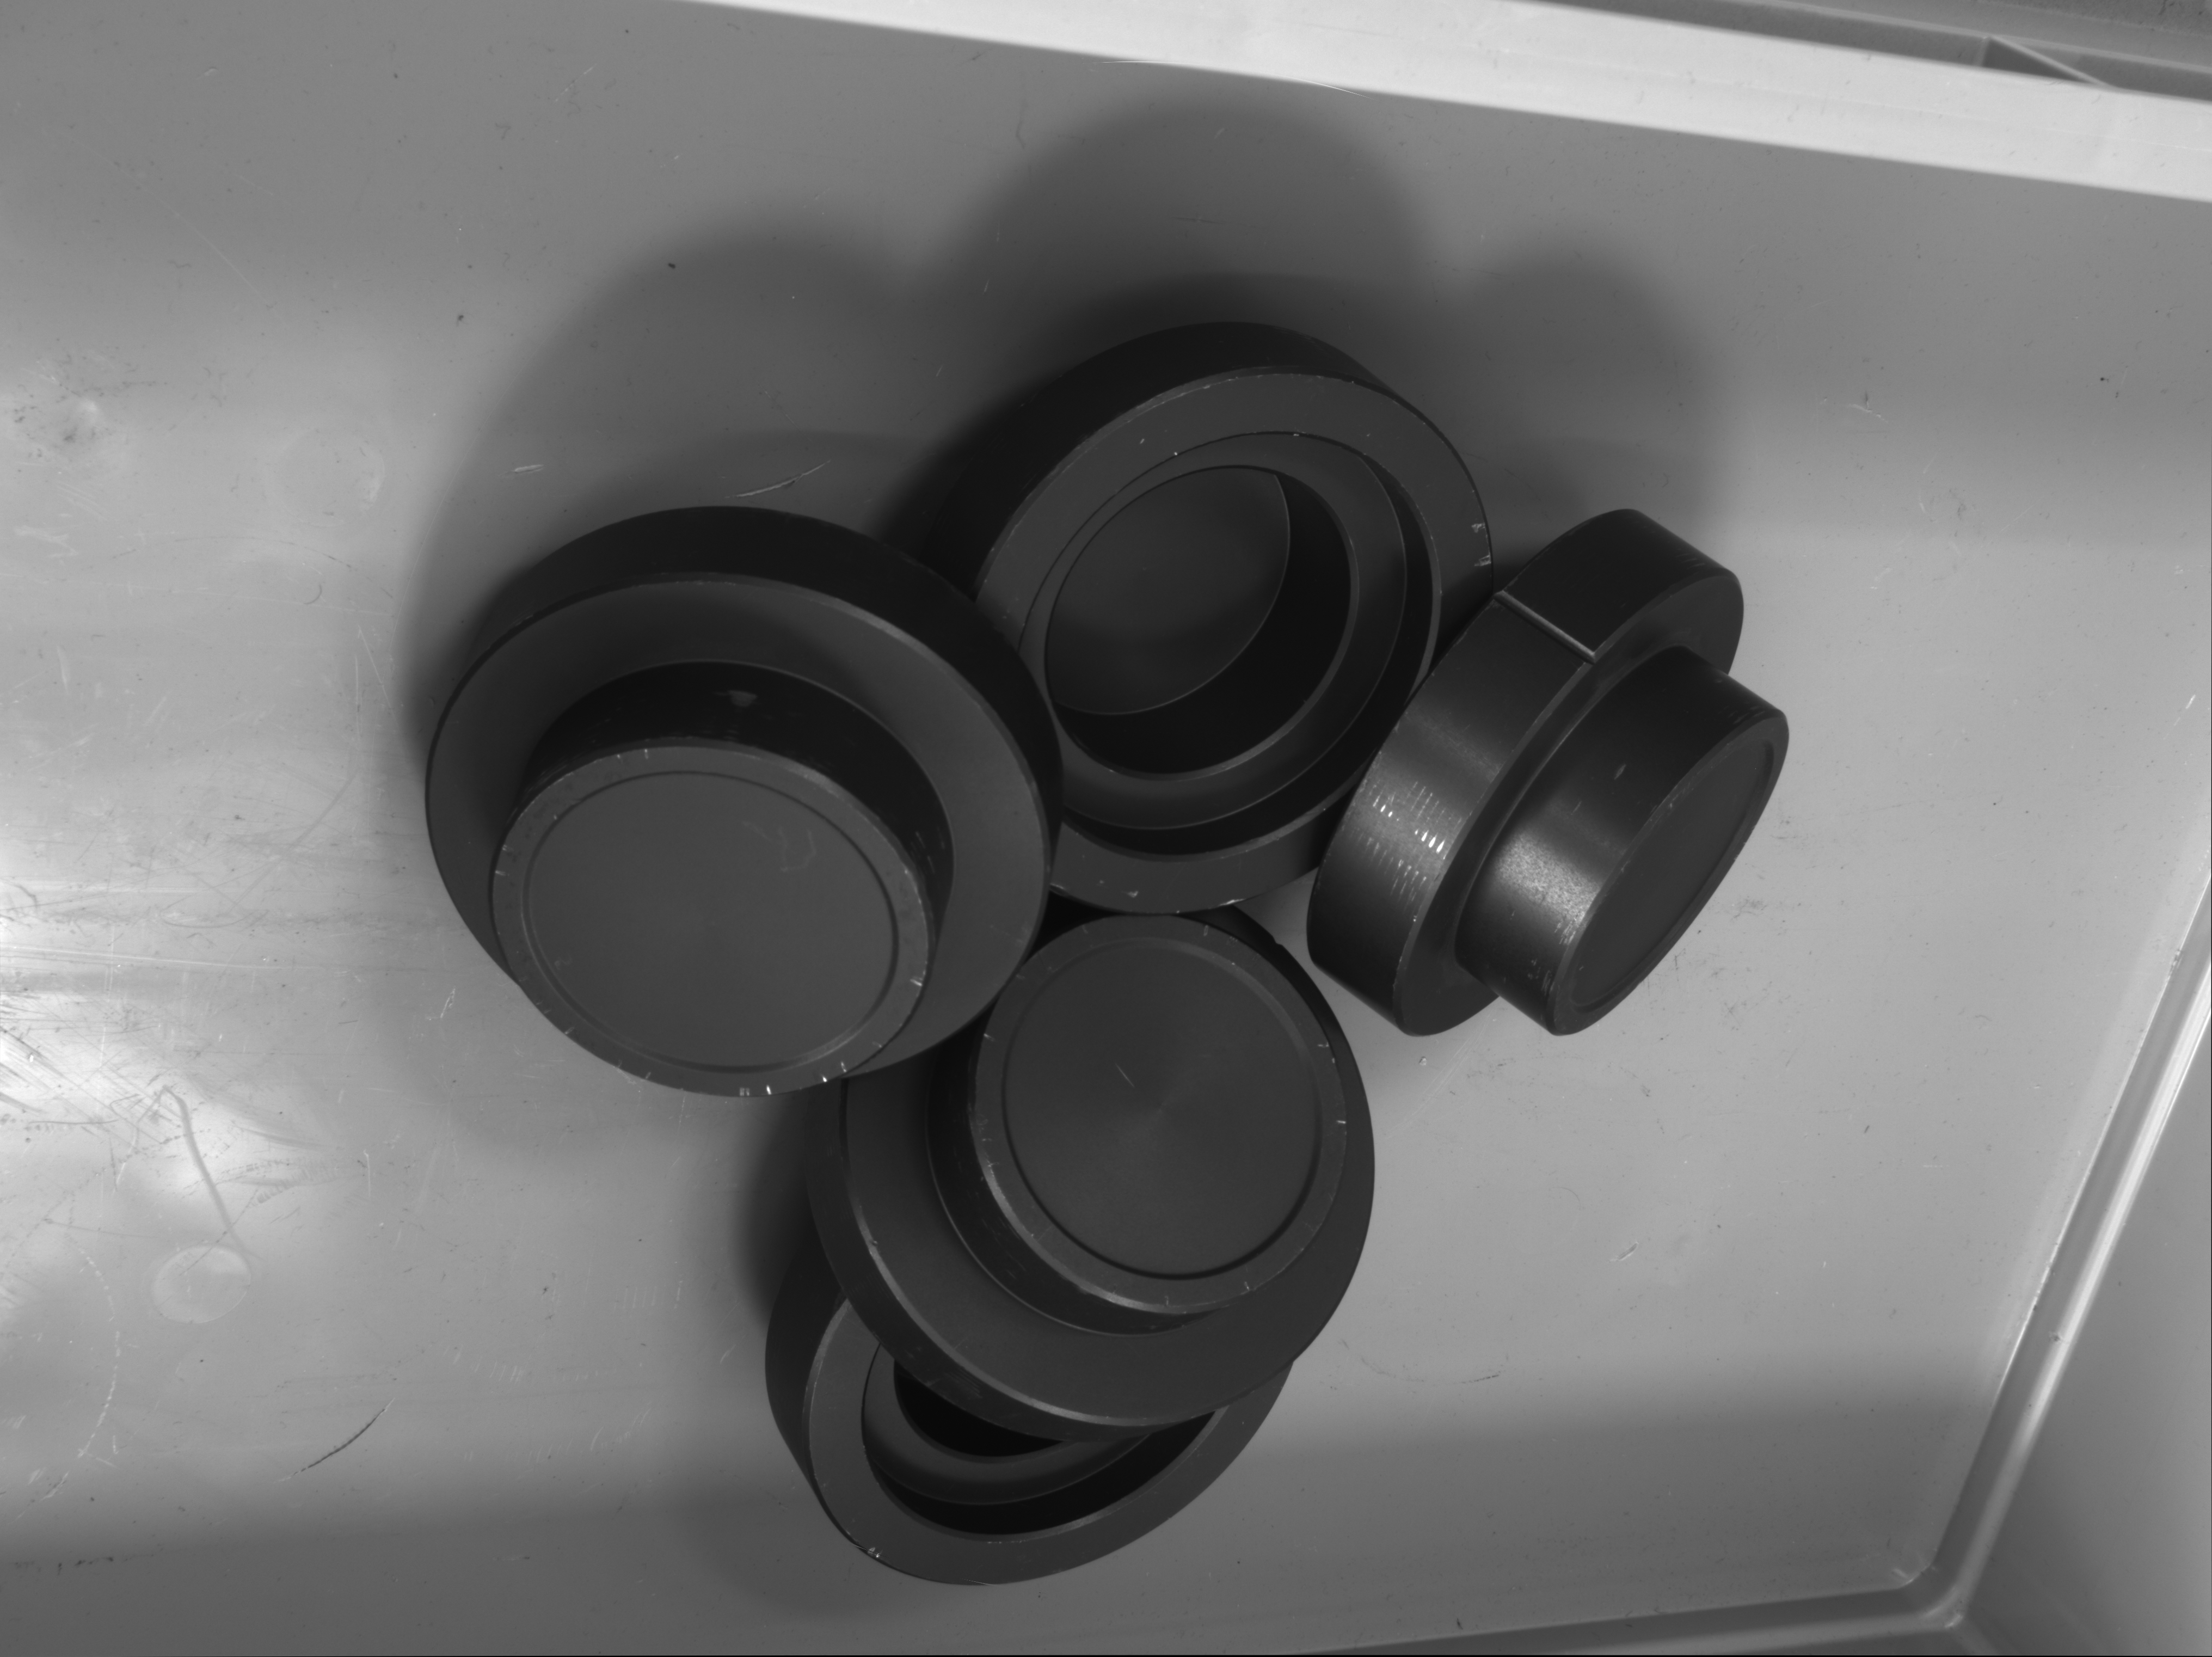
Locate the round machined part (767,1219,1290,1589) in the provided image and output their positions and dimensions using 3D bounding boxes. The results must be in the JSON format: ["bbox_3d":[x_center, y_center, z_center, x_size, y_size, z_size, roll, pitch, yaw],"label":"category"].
[{"bbox_3d":[-0.016,0.086,0.668,0.098,0.042,0.098,-14,124,-21],"label":"round machined part"}]

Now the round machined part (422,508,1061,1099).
[{"bbox_3d":[-0.058,0.003,0.568,0.098,0.042,0.098,3,126,4],"label":"round machined part"}]

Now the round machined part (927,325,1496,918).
[{"bbox_3d":[0.012,-0.038,0.607,0.098,0.042,0.098,-14,124,-21],"label":"round machined part"}]

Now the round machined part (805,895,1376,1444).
[{"bbox_3d":[0.002,0.052,0.621,0.098,0.098,0.042,-6,165,-25],"label":"round machined part"}]

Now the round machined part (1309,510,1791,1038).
[{"bbox_3d":[0.082,-0.003,0.638,0.098,0.042,0.098,-44,157,-23],"label":"round machined part"}]
